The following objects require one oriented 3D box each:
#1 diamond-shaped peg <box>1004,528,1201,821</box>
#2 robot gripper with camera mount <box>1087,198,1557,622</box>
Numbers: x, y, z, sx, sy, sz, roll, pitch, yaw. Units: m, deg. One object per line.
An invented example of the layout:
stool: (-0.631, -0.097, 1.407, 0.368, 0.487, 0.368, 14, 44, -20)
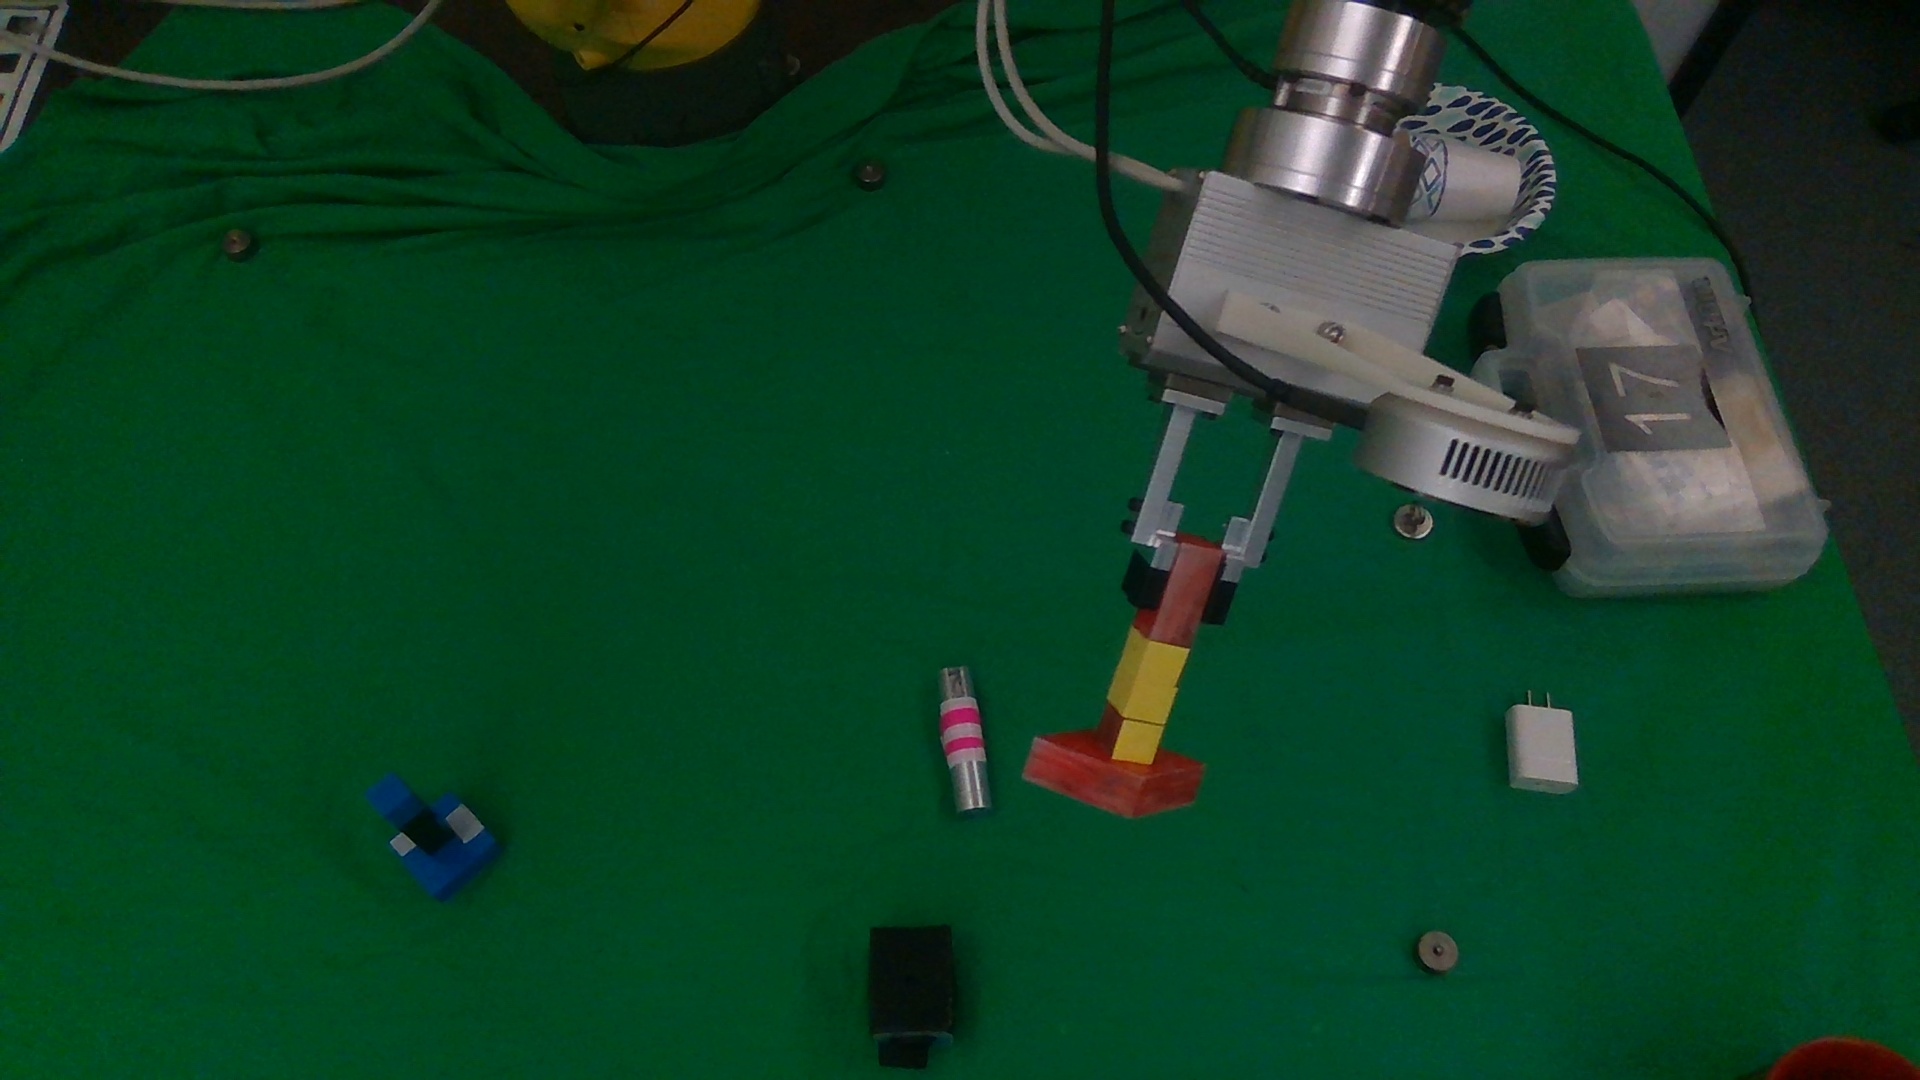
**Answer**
diamond-shaped peg: (0.073, 0.056, 0.591, 0.045, 0.074, 0.122, 27, 106, 44)
robot gripper with camera mount: (0.127, -0.017, 0.497, 0.118, 0.158, 0.194, 10, 17, -23)
